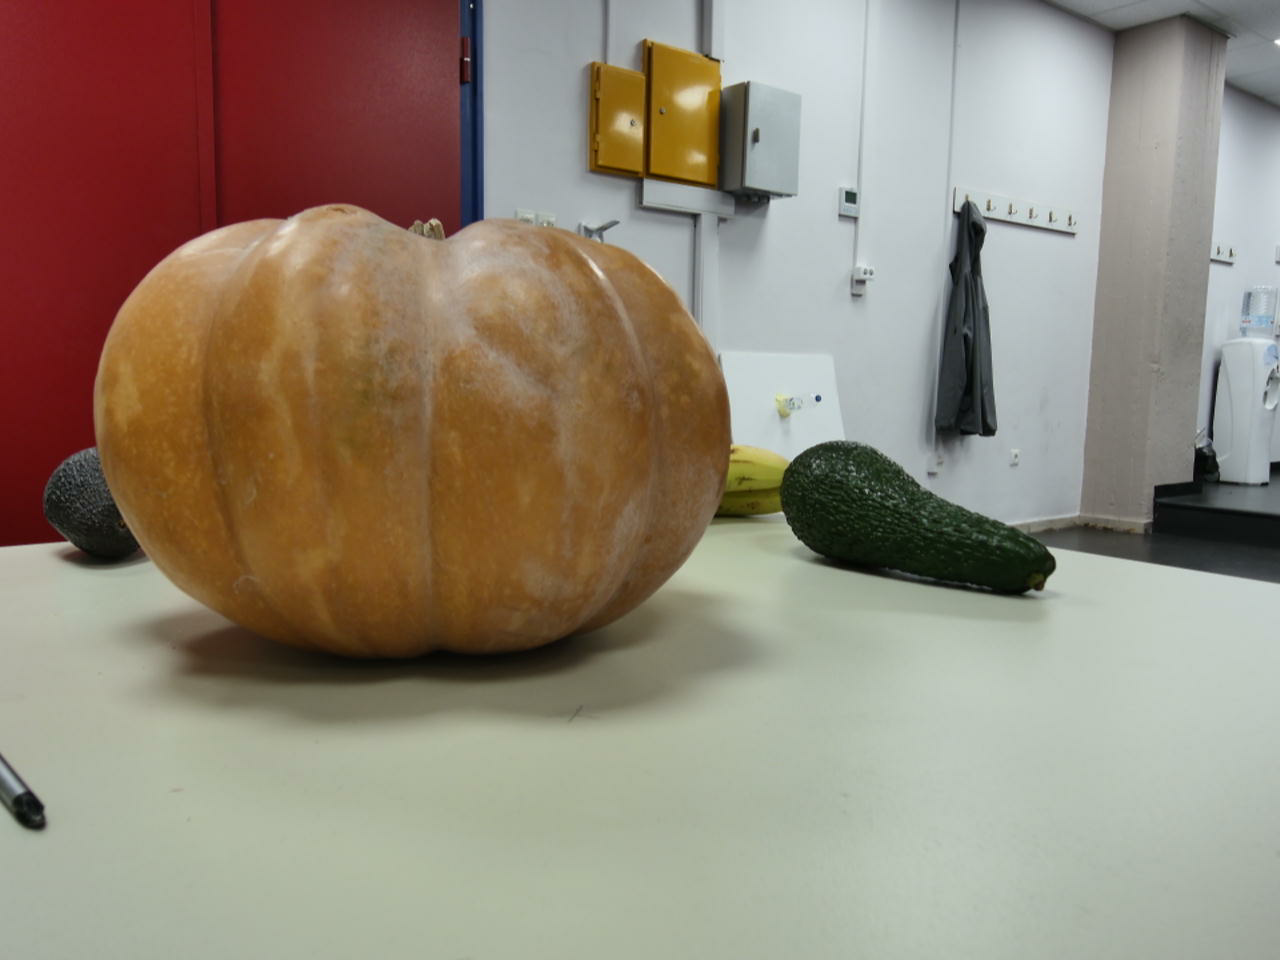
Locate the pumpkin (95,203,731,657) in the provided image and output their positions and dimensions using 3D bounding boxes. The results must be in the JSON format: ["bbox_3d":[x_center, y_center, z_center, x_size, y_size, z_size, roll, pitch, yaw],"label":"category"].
[{"bbox_3d":[-0.095,-0.022,0.438,0.277,0.181,0.277,0,4,0],"label":"pumpkin"}]
